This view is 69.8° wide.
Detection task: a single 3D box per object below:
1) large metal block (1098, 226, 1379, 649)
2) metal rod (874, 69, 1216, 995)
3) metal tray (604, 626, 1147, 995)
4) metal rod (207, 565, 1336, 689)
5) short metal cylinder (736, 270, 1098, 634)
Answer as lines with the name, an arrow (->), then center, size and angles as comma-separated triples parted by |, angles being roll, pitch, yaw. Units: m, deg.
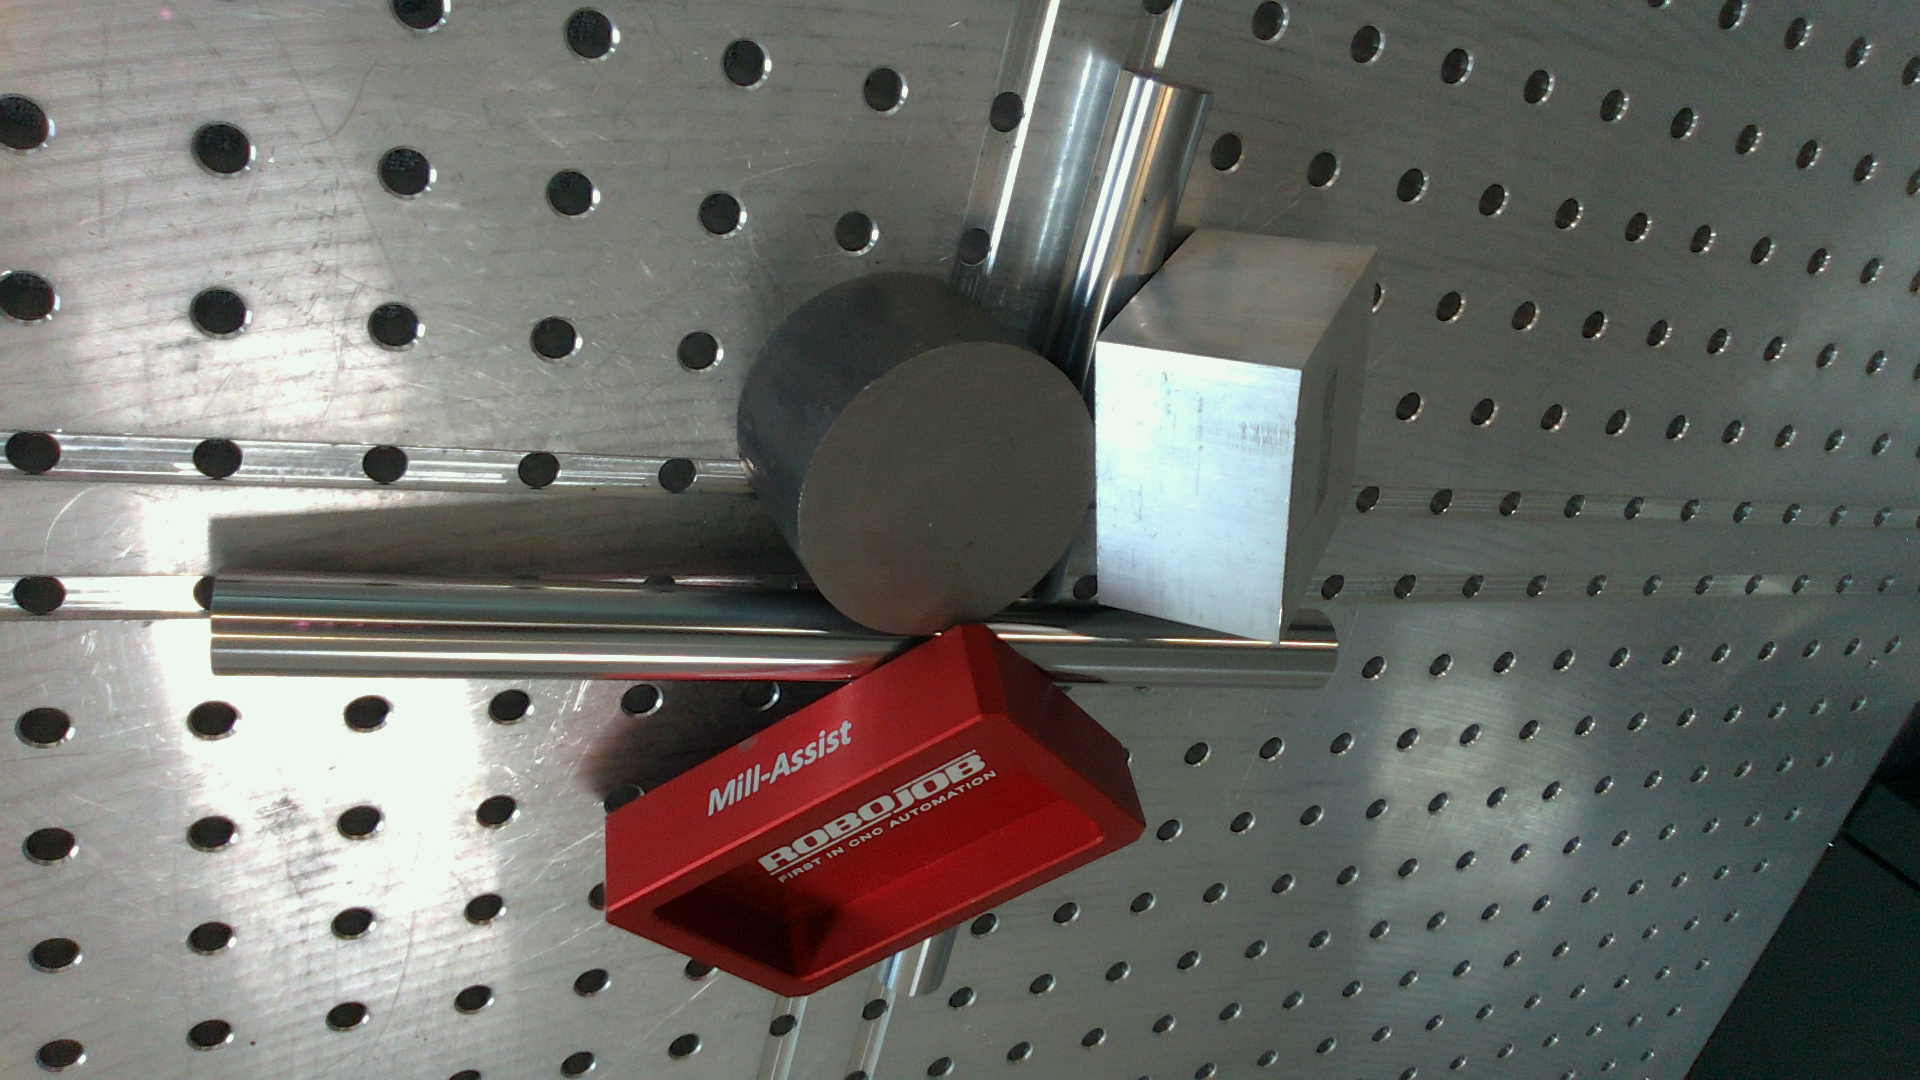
large metal block -> 0.075, -0.031, 0.372 | 0.080, 0.050, 0.080 | -50, 144, -48
metal rod -> 0.017, 0.016, 0.411 | 0.025, 0.025, 0.300 | 1, 118, -29
metal tray -> -0.024, 0.082, 0.393 | 0.130, 0.030, 0.090 | -29, 138, 17
metal rod -> -0.031, 0.026, 0.370 | 0.301, 0.025, 0.025 | 3, 117, -22
short metal cylinder -> -0.012, -0.023, 0.355 | 0.080, 0.050, 0.080 | -14, 124, -21
